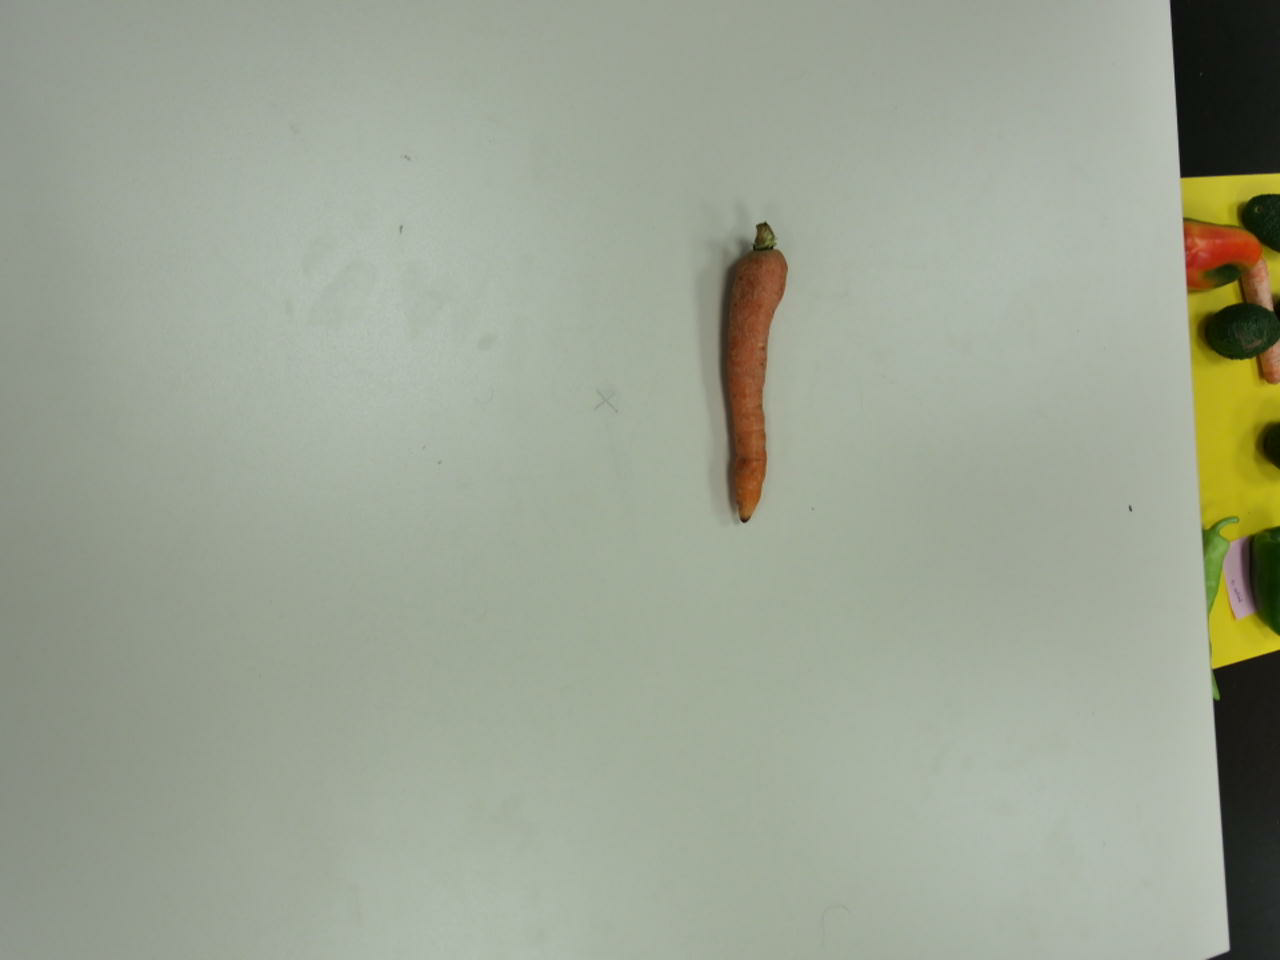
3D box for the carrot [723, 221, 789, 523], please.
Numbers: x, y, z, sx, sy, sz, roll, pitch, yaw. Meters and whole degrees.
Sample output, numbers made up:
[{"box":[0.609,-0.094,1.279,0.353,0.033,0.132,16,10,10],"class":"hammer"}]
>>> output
[{"box":[0.065,-0.060,0.577,0.030,0.032,0.173,4,89,-22],"class":"carrot"}]
